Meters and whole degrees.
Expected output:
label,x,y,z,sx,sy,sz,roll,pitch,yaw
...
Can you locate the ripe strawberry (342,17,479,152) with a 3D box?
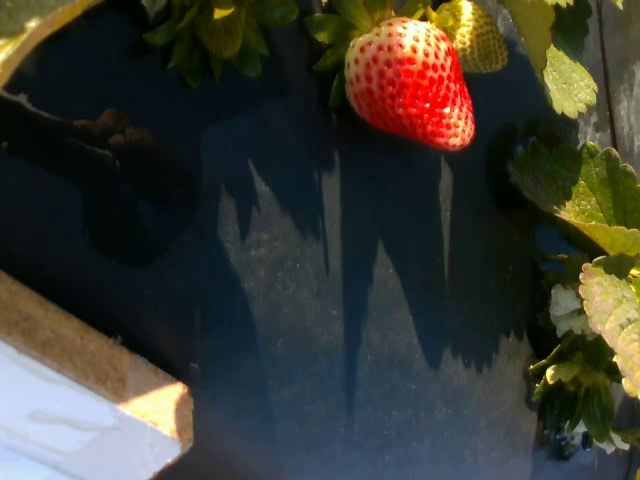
label,x,y,z,sx,sy,sz,roll,pitch,yaw
ripe strawberry,0.025,-0.037,0.156,0.042,0.037,0.045,4,38,-53
